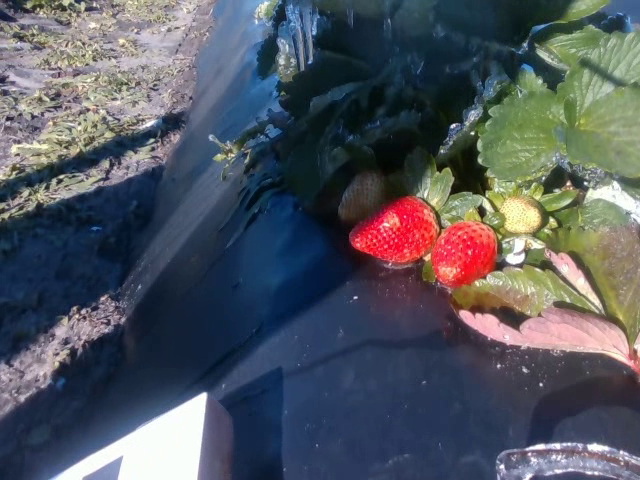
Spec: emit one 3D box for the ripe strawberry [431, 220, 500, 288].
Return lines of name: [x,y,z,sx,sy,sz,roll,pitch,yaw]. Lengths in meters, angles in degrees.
ripe strawberry: [0.068,0.008,0.285,0.036,0.030,0.041,-15,31,36]

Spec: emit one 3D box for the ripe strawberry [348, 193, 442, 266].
ripe strawberry: [0.033,-0.002,0.302,0.051,0.040,0.036,-11,12,-35]
